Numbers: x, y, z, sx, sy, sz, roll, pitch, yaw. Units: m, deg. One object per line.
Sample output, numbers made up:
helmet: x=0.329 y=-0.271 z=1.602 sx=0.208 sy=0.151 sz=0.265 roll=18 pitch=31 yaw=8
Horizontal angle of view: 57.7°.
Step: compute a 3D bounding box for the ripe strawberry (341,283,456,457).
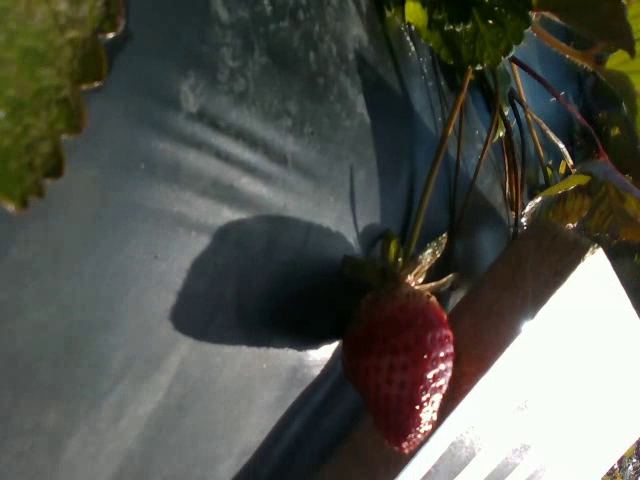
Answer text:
ripe strawberry: x=0.016 y=0.029 z=0.123 sx=0.033 sy=0.038 sz=0.034 roll=-20 pitch=-30 yaw=29
